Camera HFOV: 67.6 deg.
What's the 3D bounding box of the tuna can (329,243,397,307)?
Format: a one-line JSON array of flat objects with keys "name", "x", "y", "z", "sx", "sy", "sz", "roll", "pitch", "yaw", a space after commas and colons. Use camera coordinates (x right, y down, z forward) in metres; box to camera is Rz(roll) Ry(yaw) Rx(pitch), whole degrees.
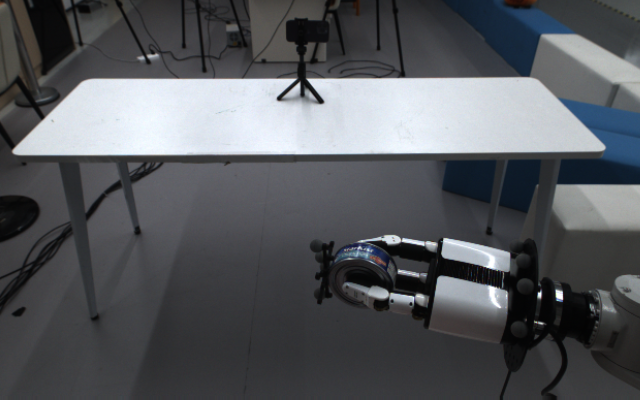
[{"name": "tuna can", "x": 0.058, "y": 0.100, "z": 0.617, "sx": 0.085, "sy": 0.085, "sz": 0.034, "roll": 9, "pitch": 33, "yaw": 10}]
